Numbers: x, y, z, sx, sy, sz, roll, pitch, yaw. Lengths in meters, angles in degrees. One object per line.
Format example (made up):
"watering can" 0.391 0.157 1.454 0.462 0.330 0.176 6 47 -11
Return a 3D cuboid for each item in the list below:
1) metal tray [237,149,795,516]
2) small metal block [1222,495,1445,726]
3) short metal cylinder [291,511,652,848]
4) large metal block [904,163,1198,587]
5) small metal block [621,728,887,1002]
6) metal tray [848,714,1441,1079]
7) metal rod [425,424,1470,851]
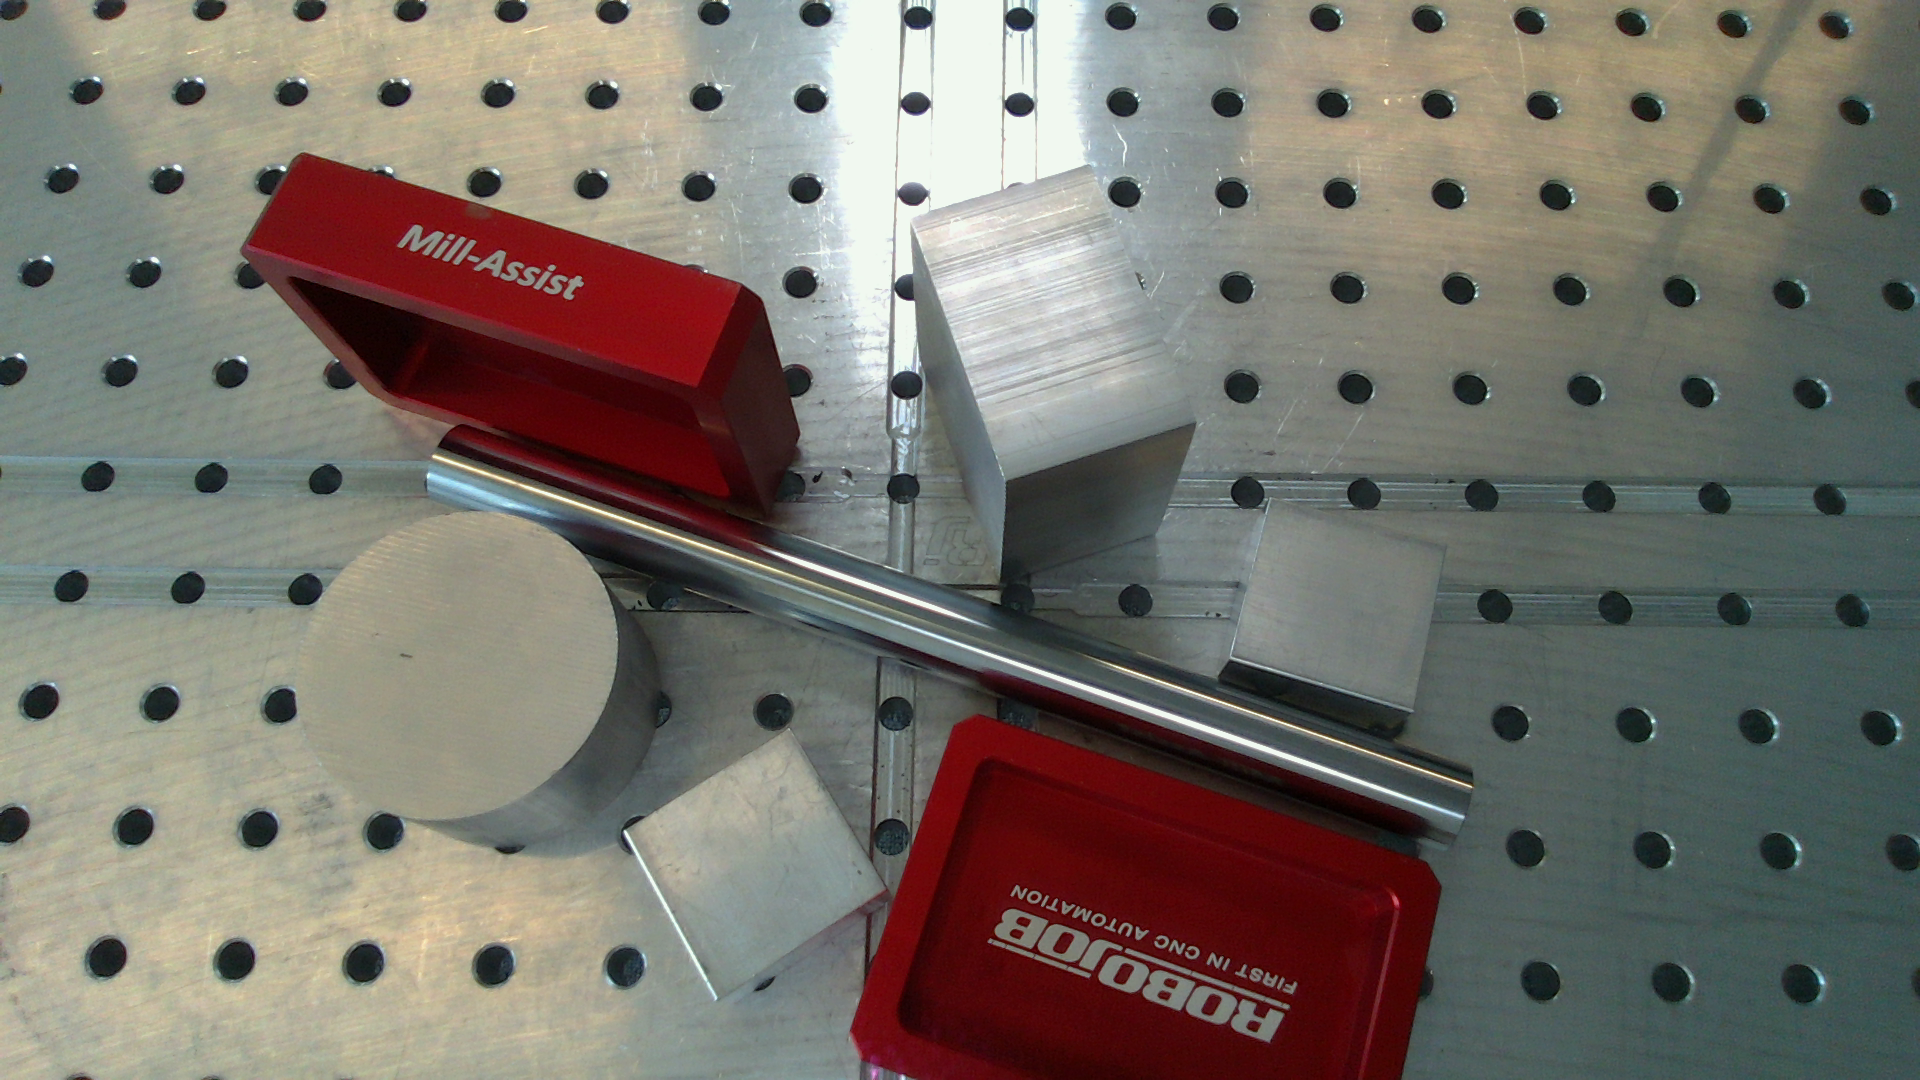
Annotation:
"metal tray" -0.115 -0.053 0.380 0.130 0.090 0.030 18 71 6
"small metal block" 0.104 0.021 0.390 0.050 0.025 0.050 16 71 6
"short metal cylinder" -0.127 0.039 0.368 0.080 0.050 0.080 0 70 0
"large metal block" 0.022 -0.043 0.385 0.050 0.080 0.080 -17 71 -6
"small metal block" -0.053 0.087 0.366 0.050 0.025 0.050 -31 73 -11
"metal tray" 0.047 0.108 0.354 0.130 0.030 0.090 17 71 6
"metal rod" -0.009 0.025 0.388 0.300 0.025 0.025 18 71 6
